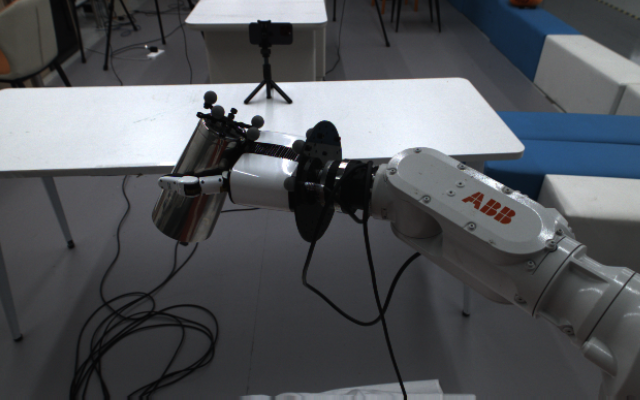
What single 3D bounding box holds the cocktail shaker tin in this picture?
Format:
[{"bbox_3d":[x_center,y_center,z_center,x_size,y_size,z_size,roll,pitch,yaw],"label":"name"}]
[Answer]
[{"bbox_3d":[-0.164,-0.036,0.682,0.093,0.170,0.093,25,30,-15],"label":"cocktail shaker tin"}]
